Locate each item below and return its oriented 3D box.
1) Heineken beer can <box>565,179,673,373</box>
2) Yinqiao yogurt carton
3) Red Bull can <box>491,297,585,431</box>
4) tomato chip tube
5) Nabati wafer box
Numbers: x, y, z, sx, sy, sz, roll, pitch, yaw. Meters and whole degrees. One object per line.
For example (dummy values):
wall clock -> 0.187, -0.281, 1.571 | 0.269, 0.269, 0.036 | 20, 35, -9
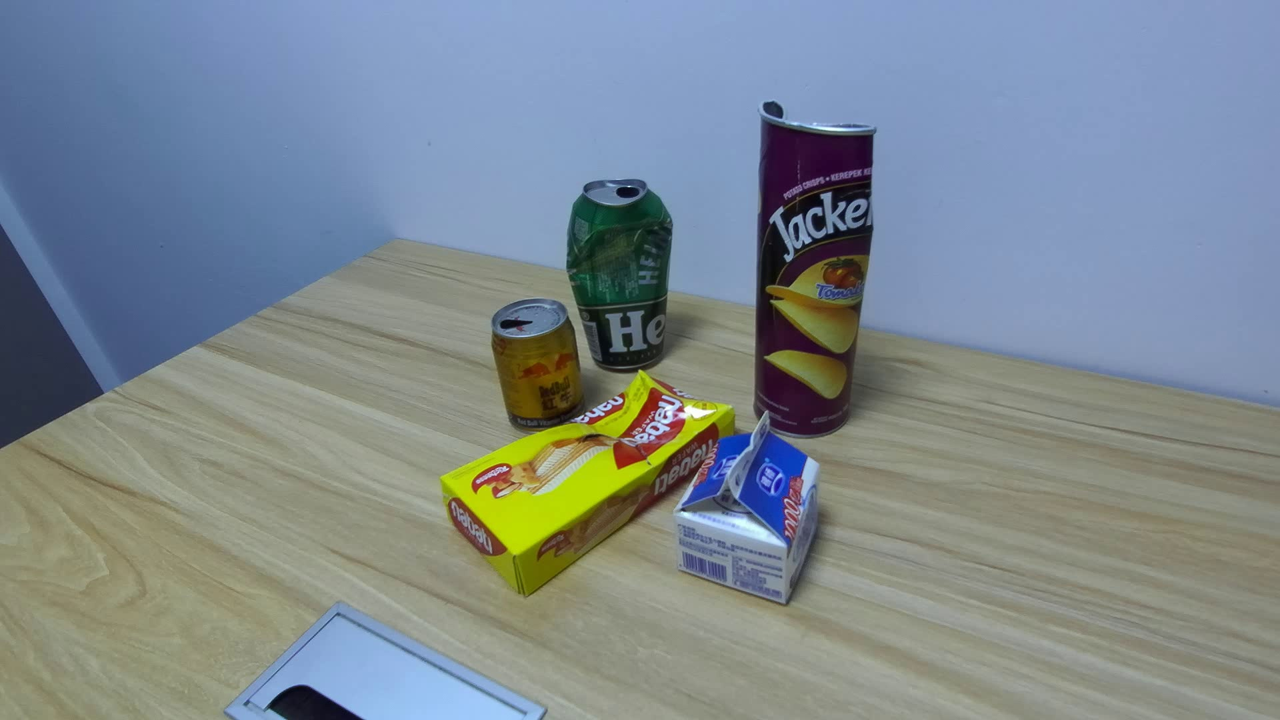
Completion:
Heineken beer can -> -0.018, -0.070, 0.608 | 0.077, 0.164, 0.066 | 18, 40, 28
Yinqiao yogurt carton -> 0.067, 0.083, 0.430 | 0.073, 0.092, 0.076 | 11, 35, 25
Red Bull can -> -0.082, 0.005, 0.573 | 0.067, 0.093, 0.067 | -3, 32, 2
tomato chip tube -> 0.122, -0.058, 0.506 | 0.076, 0.235, 0.077 | 2, 33, 12
Nabati wafer box -> -0.032, 0.072, 0.513 | 0.205, 0.042, 0.106 | -28, 41, -33
